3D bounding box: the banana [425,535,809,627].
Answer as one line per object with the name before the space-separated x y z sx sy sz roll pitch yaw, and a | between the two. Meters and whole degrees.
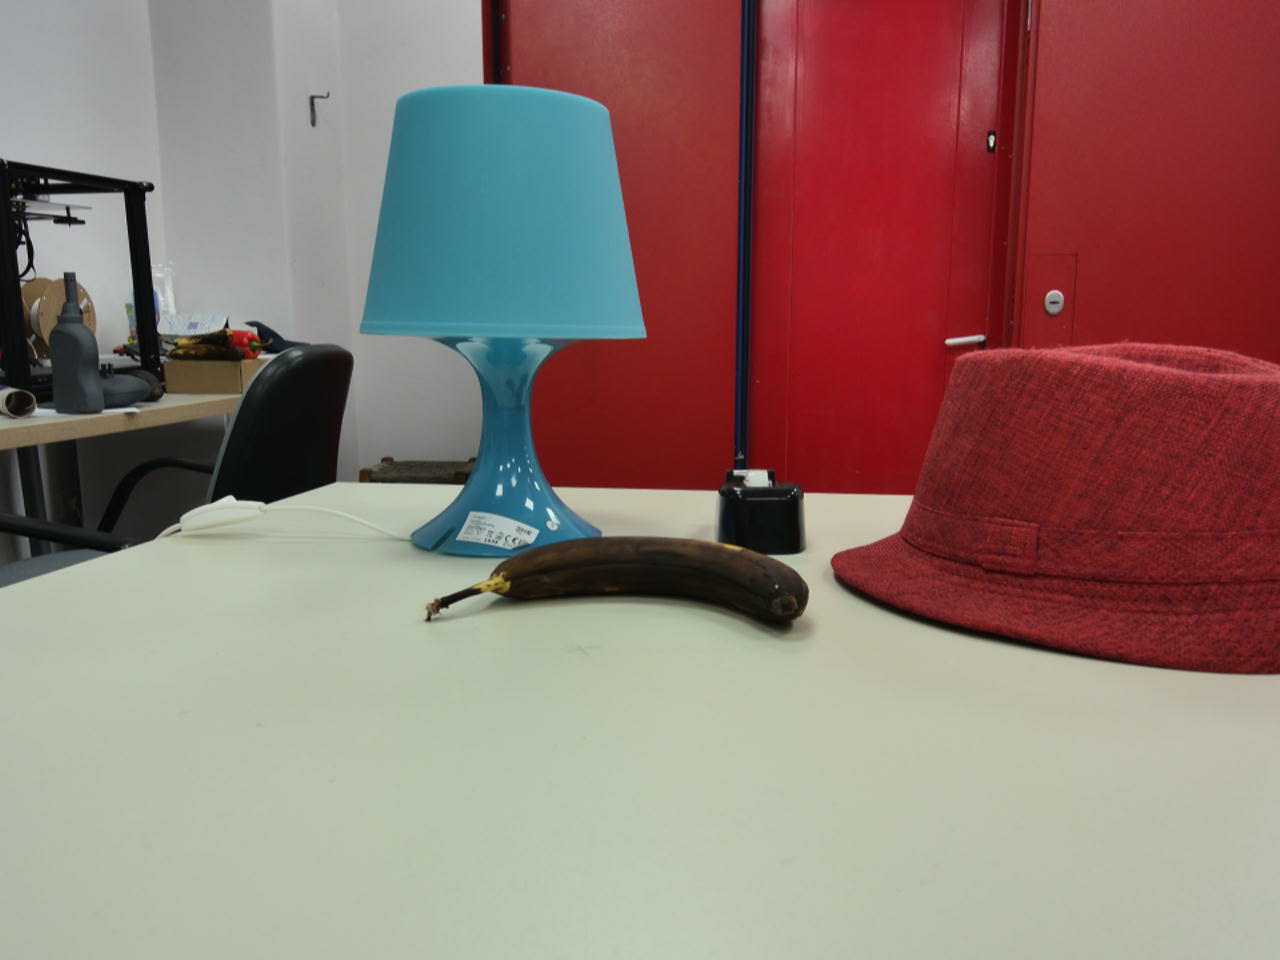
banana | -0.005 0.050 0.521 0.188 0.033 0.091 1 7 13
